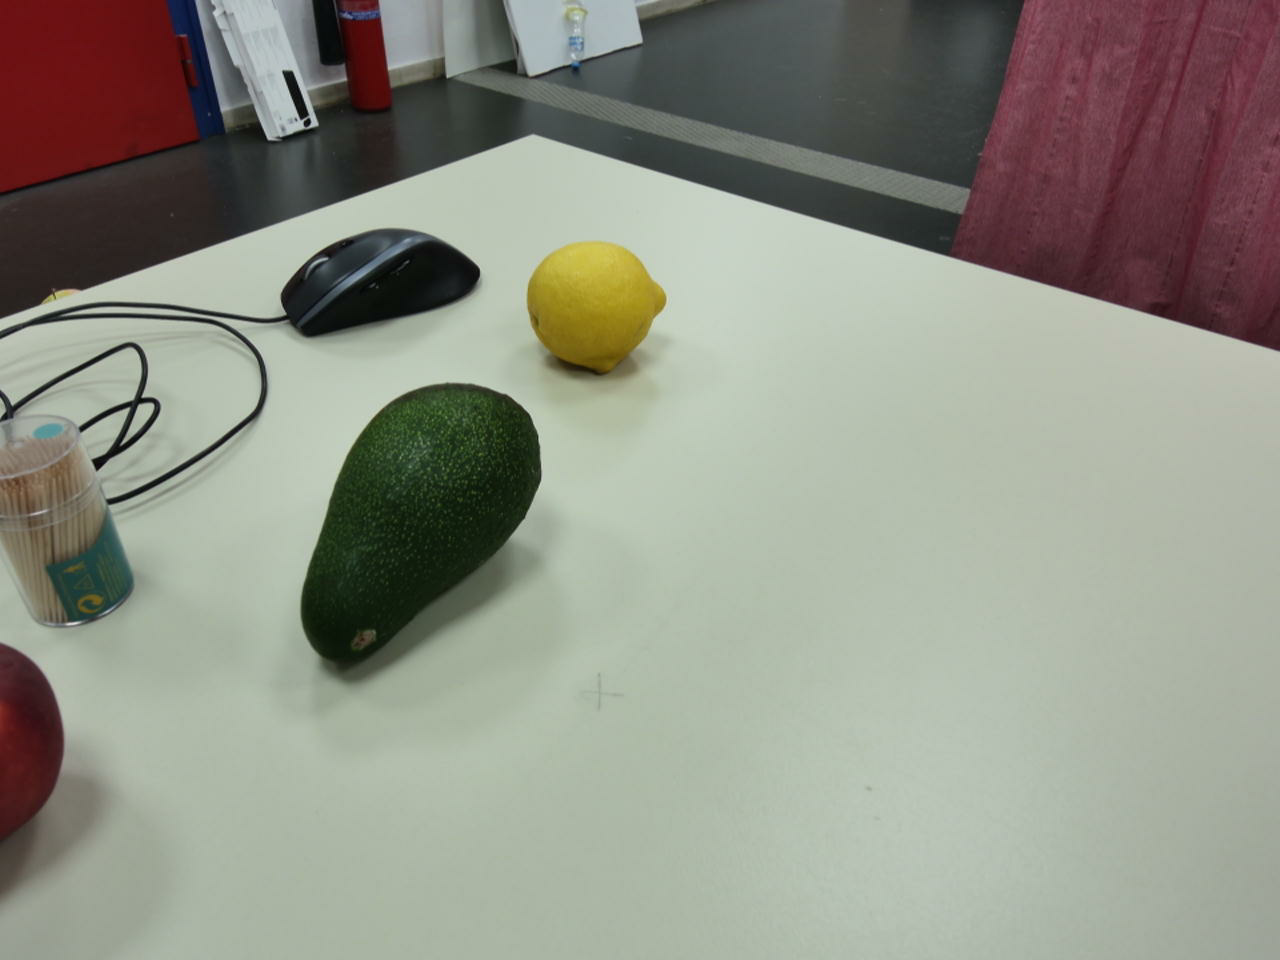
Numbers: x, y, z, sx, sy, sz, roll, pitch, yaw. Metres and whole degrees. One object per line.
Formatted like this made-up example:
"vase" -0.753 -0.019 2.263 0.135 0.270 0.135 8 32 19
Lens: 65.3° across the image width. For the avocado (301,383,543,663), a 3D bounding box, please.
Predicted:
"avocado" -0.091 0.007 0.395 0.074 0.076 0.123 30 44 34
